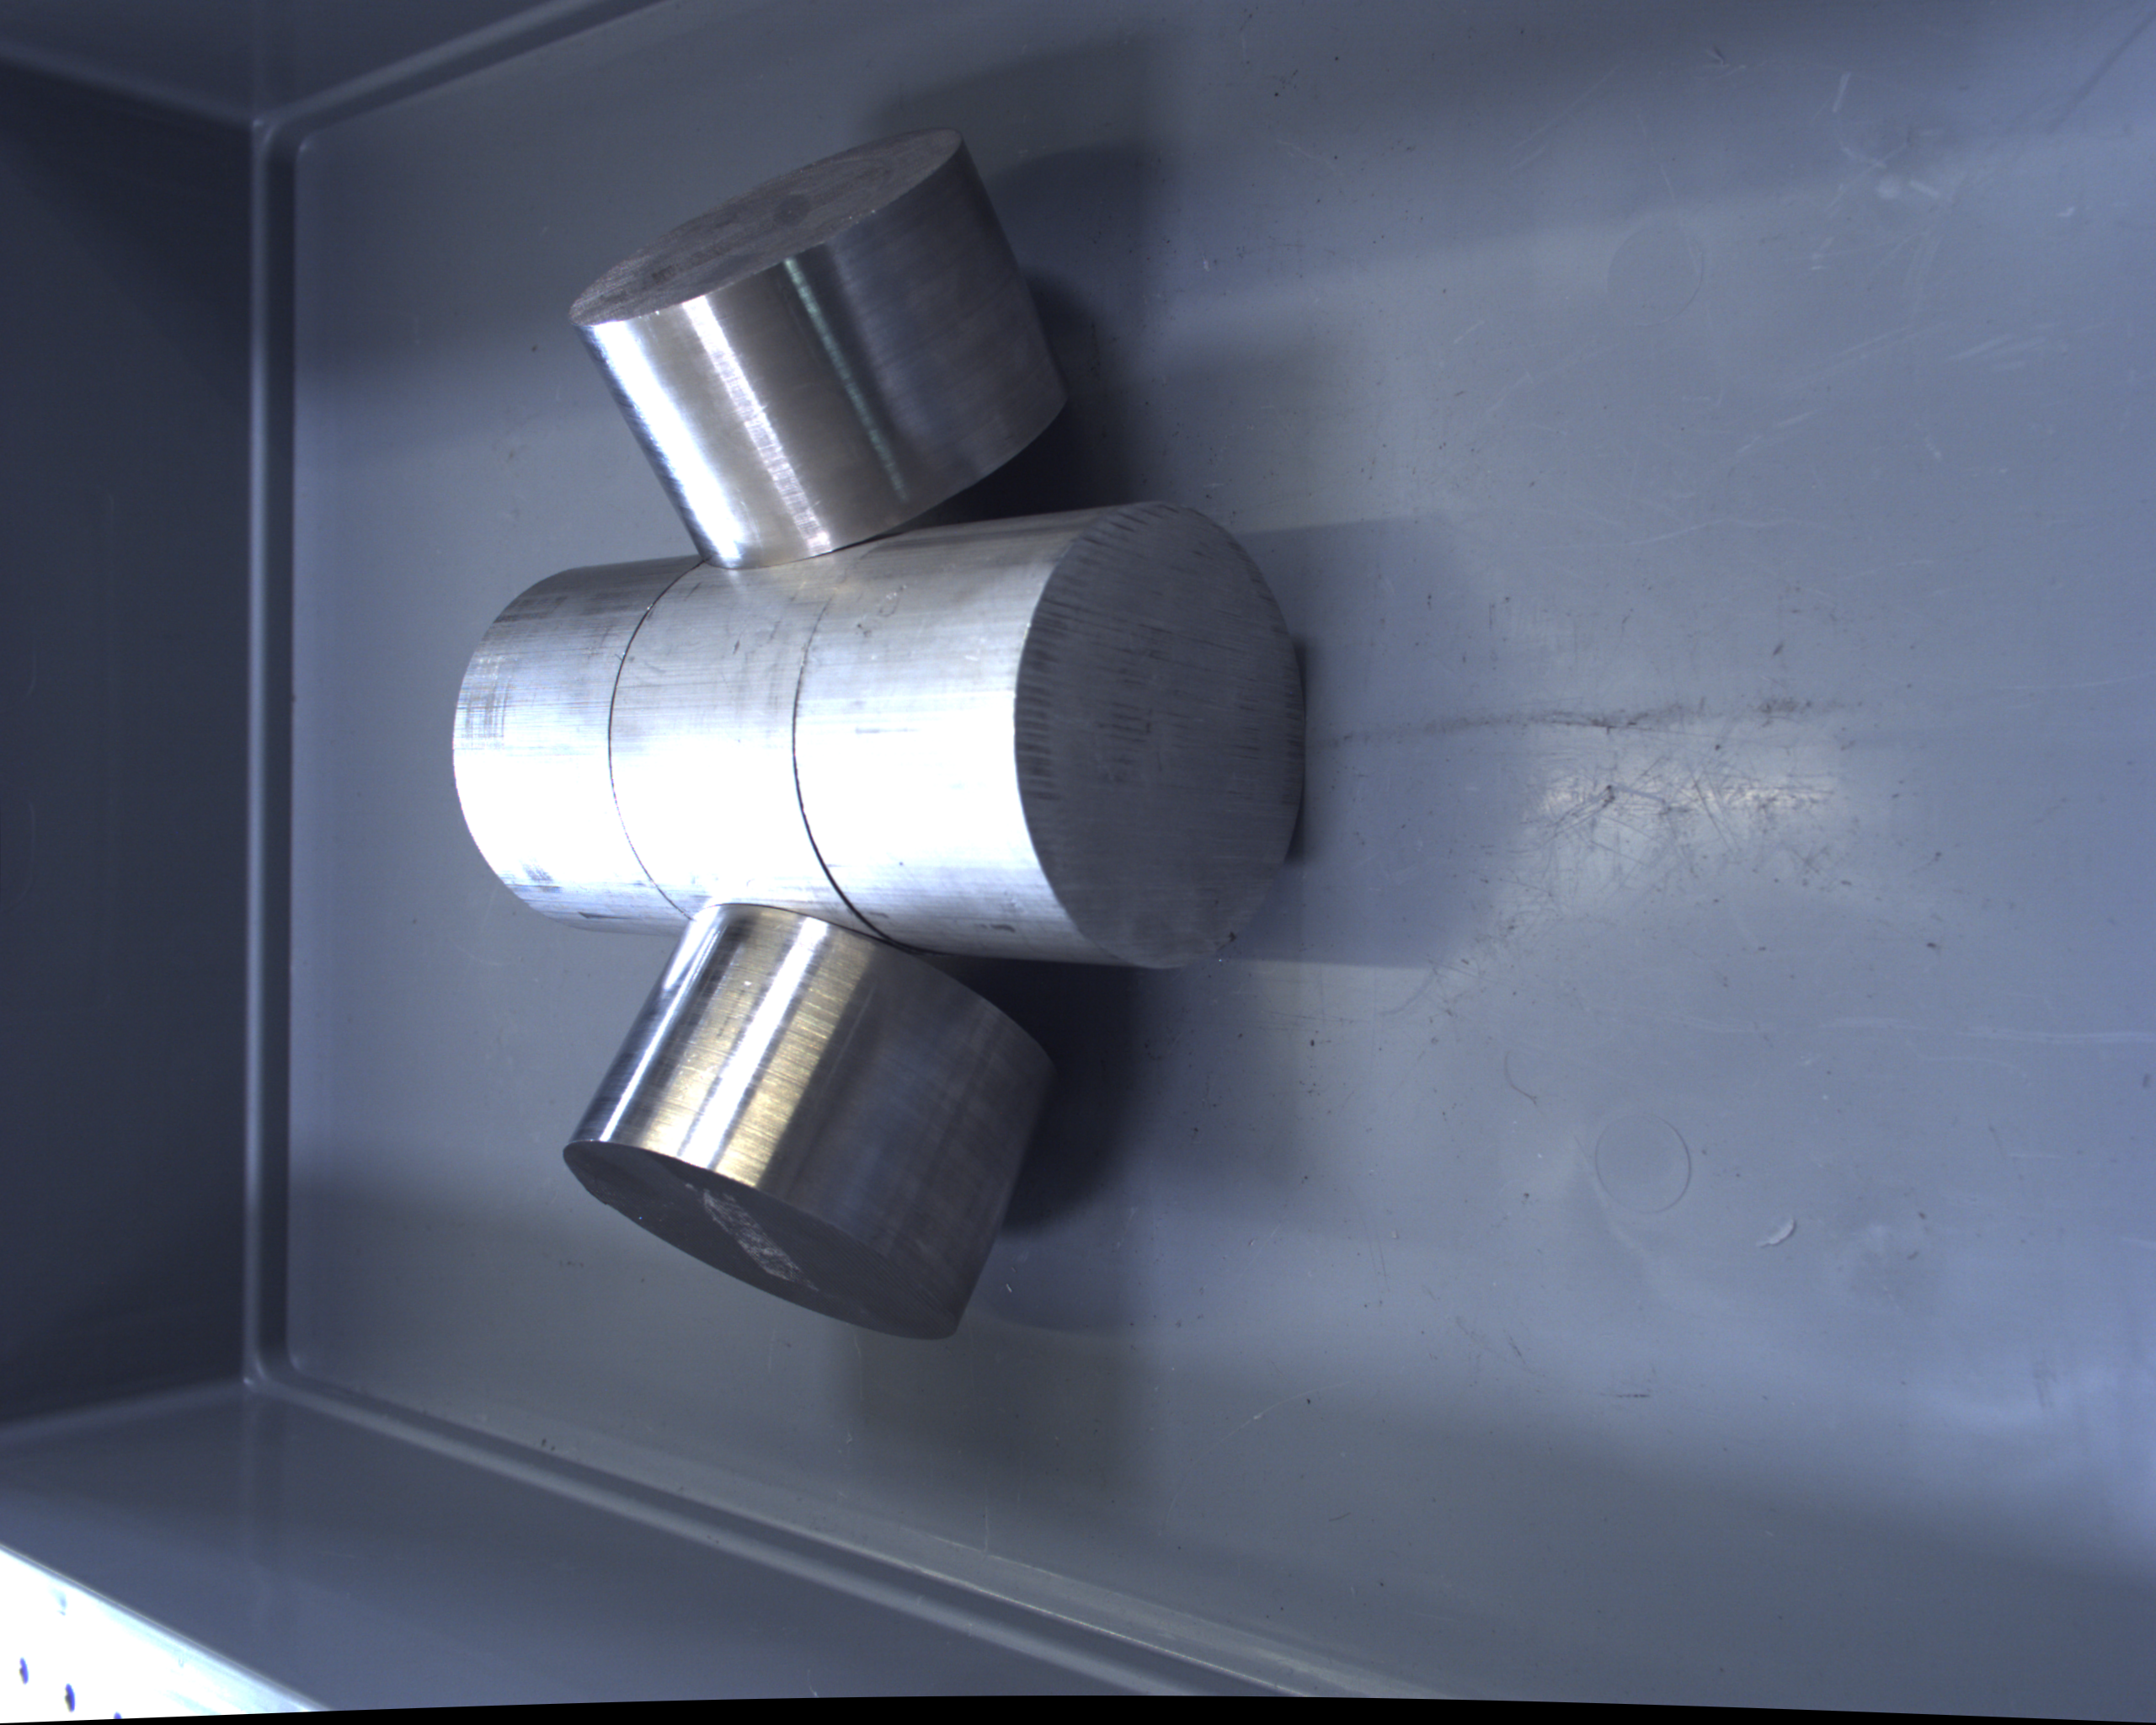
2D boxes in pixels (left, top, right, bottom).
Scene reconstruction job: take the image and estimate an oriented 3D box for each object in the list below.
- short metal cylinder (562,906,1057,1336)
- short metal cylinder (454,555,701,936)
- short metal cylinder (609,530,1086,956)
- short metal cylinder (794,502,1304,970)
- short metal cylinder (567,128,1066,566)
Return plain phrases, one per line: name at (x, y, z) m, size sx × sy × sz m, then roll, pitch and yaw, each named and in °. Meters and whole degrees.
short metal cylinder at (-0.051, 0.051, 0.401) m, size 0.080 × 0.080 × 0.050 m, roll 0°, pitch 56°, yaw 40°
short metal cylinder at (-0.081, -0.024, 0.436) m, size 0.050 × 0.081 × 0.079 m, roll 2°, pitch 91°, yaw 40°
short metal cylinder at (-0.042, -0.023, 0.404) m, size 0.050 × 0.081 × 0.079 m, roll 2°, pitch 91°, yaw 40°
short metal cylinder at (-0.003, -0.022, 0.372) m, size 0.050 × 0.081 × 0.079 m, roll 2°, pitch 91°, yaw 40°
short metal cylinder at (-0.049, -0.099, 0.400) m, size 0.080 × 0.080 × 0.050 m, roll 3°, pitch 129°, yaw 40°
